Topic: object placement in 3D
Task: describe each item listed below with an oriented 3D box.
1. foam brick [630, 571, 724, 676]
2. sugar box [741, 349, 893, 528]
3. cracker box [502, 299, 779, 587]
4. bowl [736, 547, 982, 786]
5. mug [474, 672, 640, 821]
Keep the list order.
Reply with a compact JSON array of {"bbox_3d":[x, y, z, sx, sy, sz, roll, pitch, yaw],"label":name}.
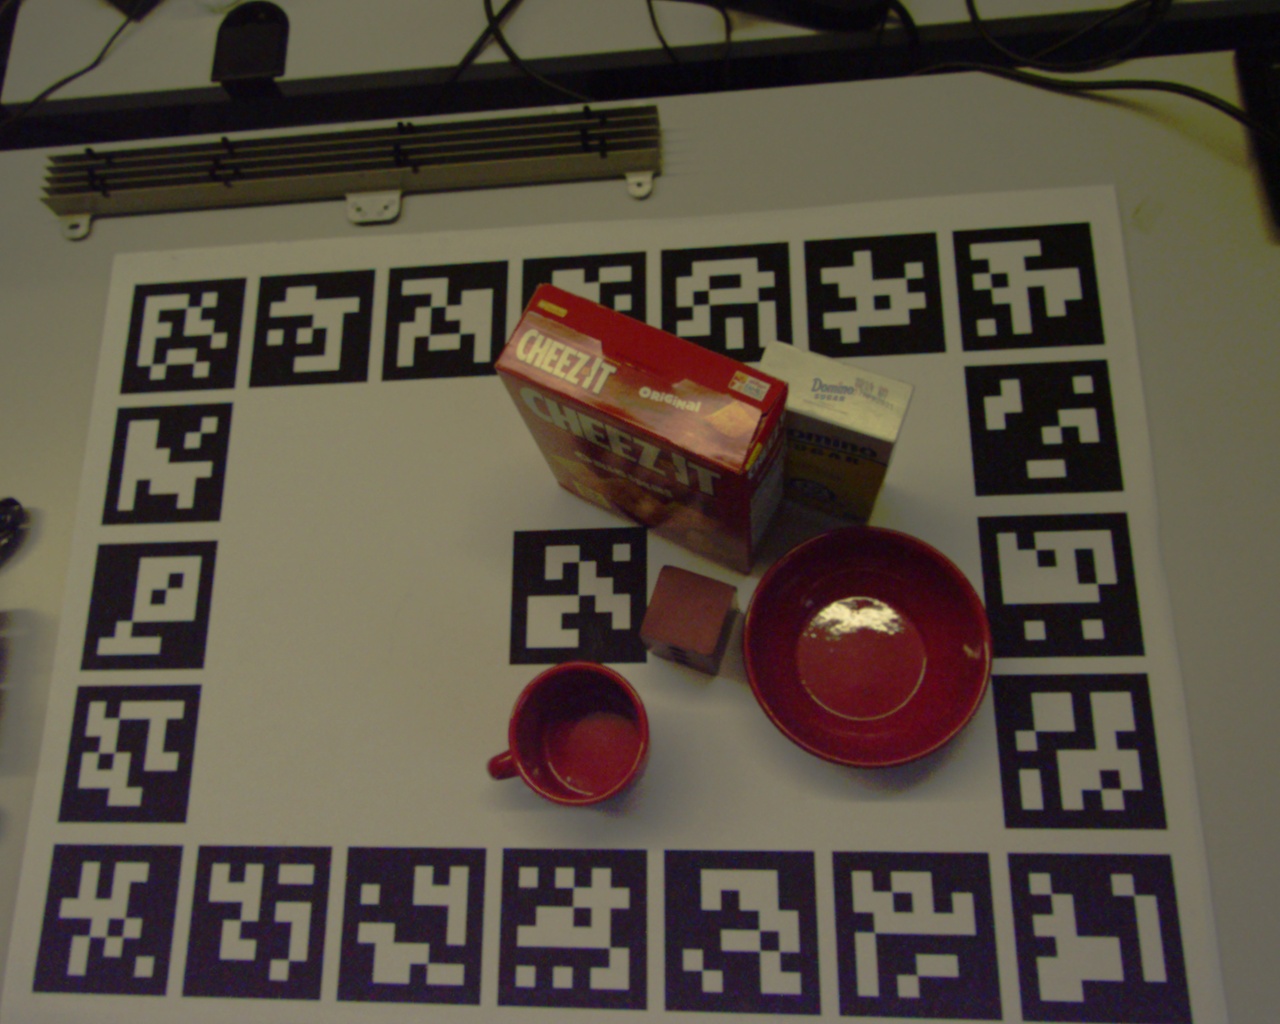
[{"bbox_3d":[0.028,0.081,0.816,0.053,0.077,0.051,14,75,12],"label":"foam brick"},{"bbox_3d":[0.118,-0.045,0.785,0.093,0.175,0.045,20,77,13],"label":"sugar box"},{"bbox_3d":[0.006,-0.036,0.781,0.165,0.212,0.072,29,77,14],"label":"cracker box"},{"bbox_3d":[0.148,0.108,0.786,0.162,0.055,0.162,-2,74,8],"label":"bowl"},{"bbox_3d":[-0.057,0.169,0.791,0.117,0.081,0.093,-10,64,7],"label":"mug"}]
